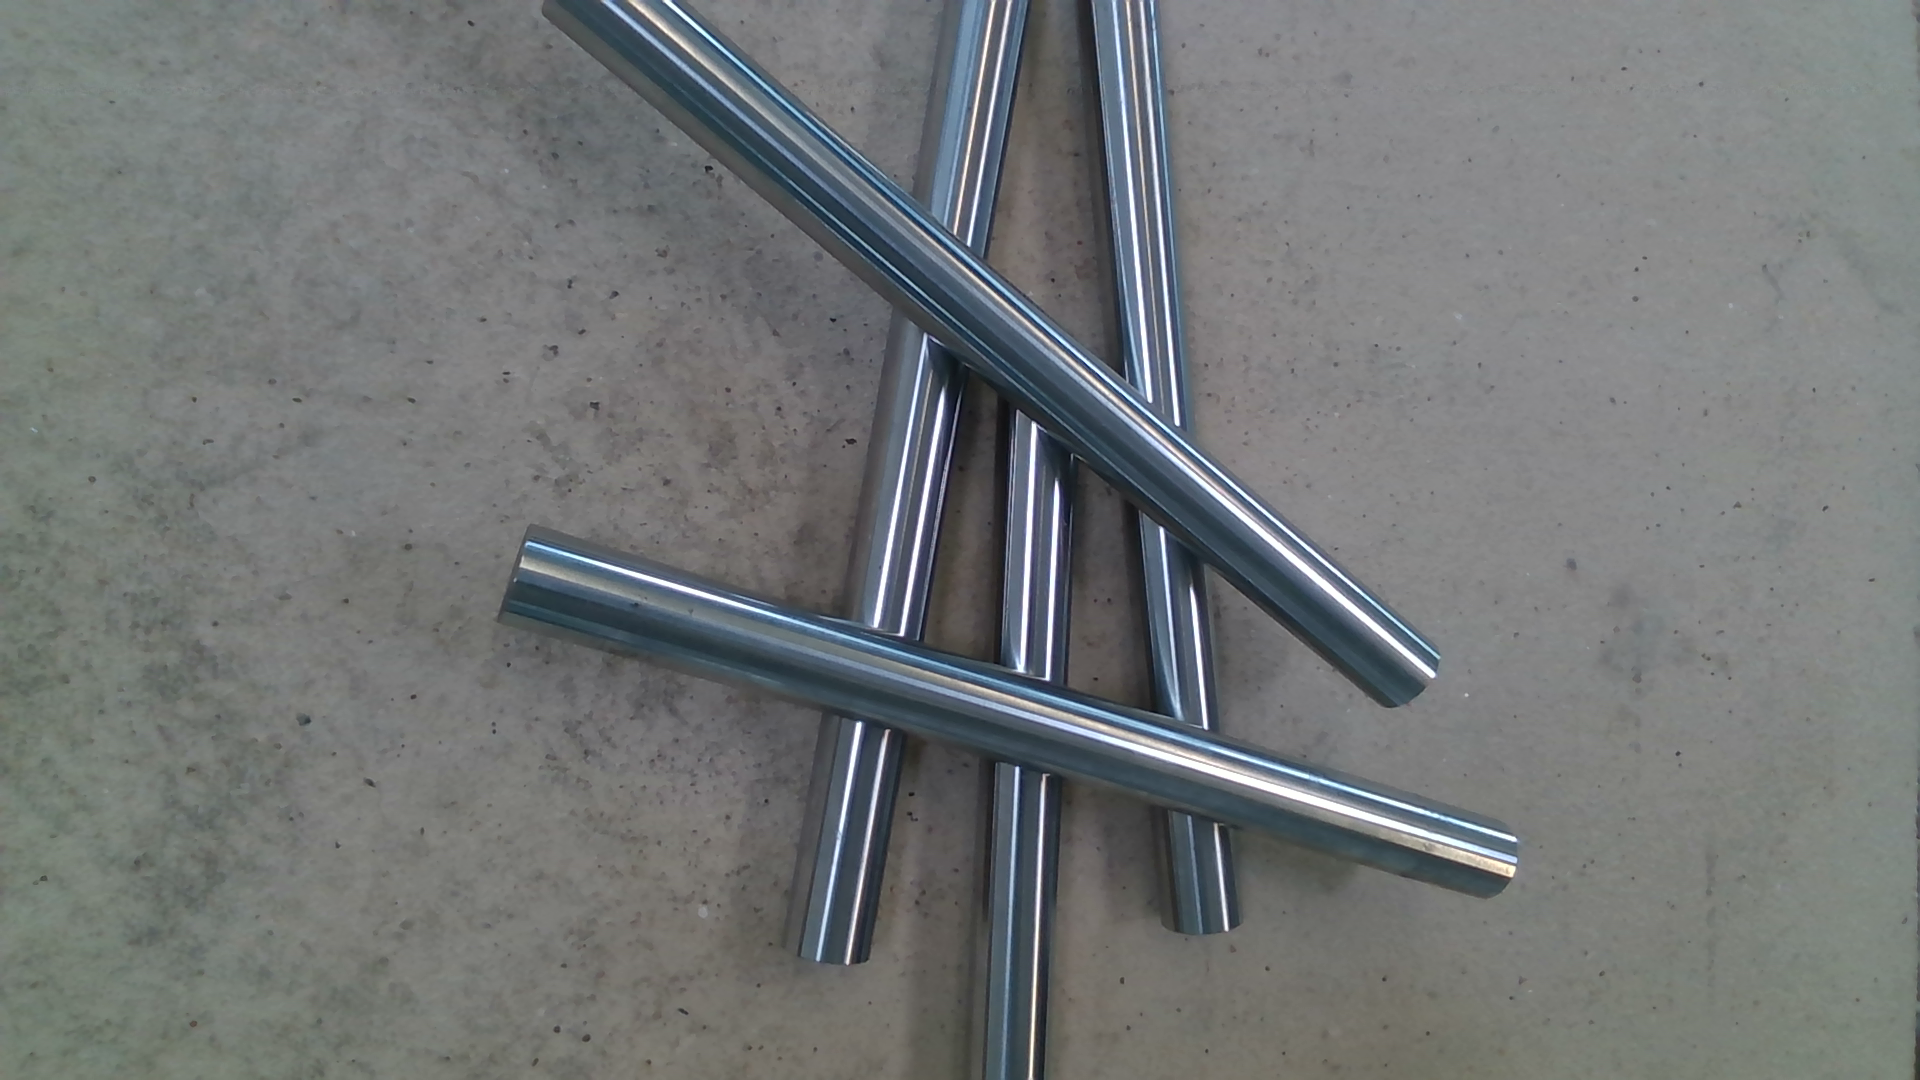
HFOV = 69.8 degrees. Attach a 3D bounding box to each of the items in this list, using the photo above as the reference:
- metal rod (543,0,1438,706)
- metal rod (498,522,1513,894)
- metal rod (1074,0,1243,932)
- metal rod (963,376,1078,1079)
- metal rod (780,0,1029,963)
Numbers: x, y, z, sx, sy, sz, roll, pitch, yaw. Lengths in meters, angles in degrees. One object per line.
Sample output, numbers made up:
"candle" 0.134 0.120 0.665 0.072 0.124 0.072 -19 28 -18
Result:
"metal rod" 0.021 -0.048 0.375 0.300 0.025 0.025 38 78 -16
"metal rod" 0.028 0.053 0.378 0.300 0.025 0.025 19 84 -19
"metal rod" 0.059 -0.033 0.416 0.025 0.025 0.300 -7 92 -20
"metal rod" 0.016 0.096 0.401 0.025 0.025 0.300 3 89 -20
"metal rod" -0.013 -0.034 0.390 0.025 0.025 0.300 11 86 -20
